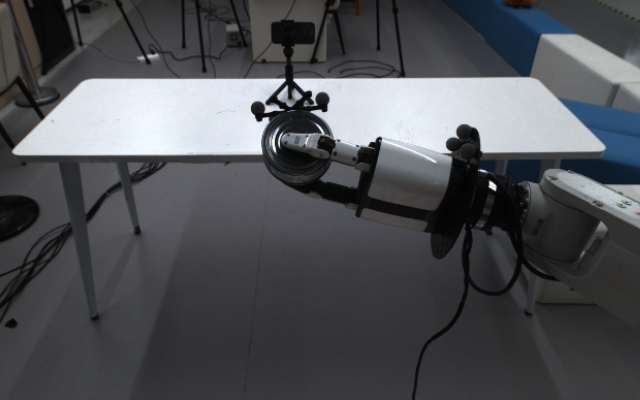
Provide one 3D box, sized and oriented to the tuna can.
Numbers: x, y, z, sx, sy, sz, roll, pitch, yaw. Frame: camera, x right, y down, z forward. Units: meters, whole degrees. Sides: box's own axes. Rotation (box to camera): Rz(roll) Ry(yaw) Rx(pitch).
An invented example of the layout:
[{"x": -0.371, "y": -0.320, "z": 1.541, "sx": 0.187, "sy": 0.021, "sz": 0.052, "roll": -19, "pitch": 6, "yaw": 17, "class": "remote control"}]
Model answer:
[{"x": -0.022, "y": -0.058, "z": 0.573, "sx": 0.085, "sy": 0.034, "sz": 0.085, "roll": 0, "pitch": 72, "yaw": -1, "class": "tuna can"}]
